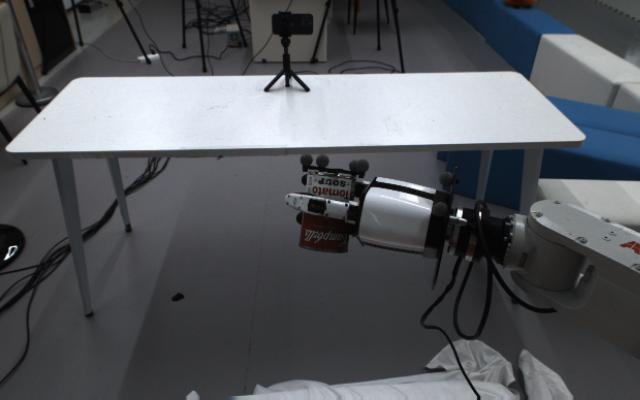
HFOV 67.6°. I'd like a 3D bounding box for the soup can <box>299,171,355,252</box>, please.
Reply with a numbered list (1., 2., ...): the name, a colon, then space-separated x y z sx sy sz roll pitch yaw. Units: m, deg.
1. soup can: 0.012 0.016 0.650 0.067 0.101 0.067 7 3 0
